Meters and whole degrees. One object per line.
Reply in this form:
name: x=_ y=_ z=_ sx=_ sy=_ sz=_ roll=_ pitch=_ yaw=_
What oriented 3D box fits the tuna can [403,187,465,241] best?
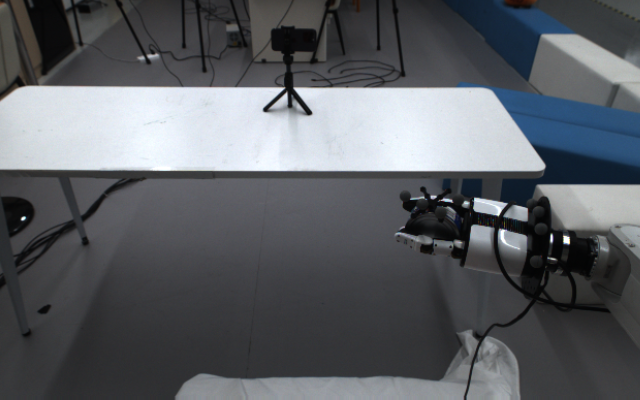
tuna can: x=0.180 y=0.042 z=0.764 sx=0.085 sy=0.085 sz=0.034 roll=14 pitch=41 yaw=16
